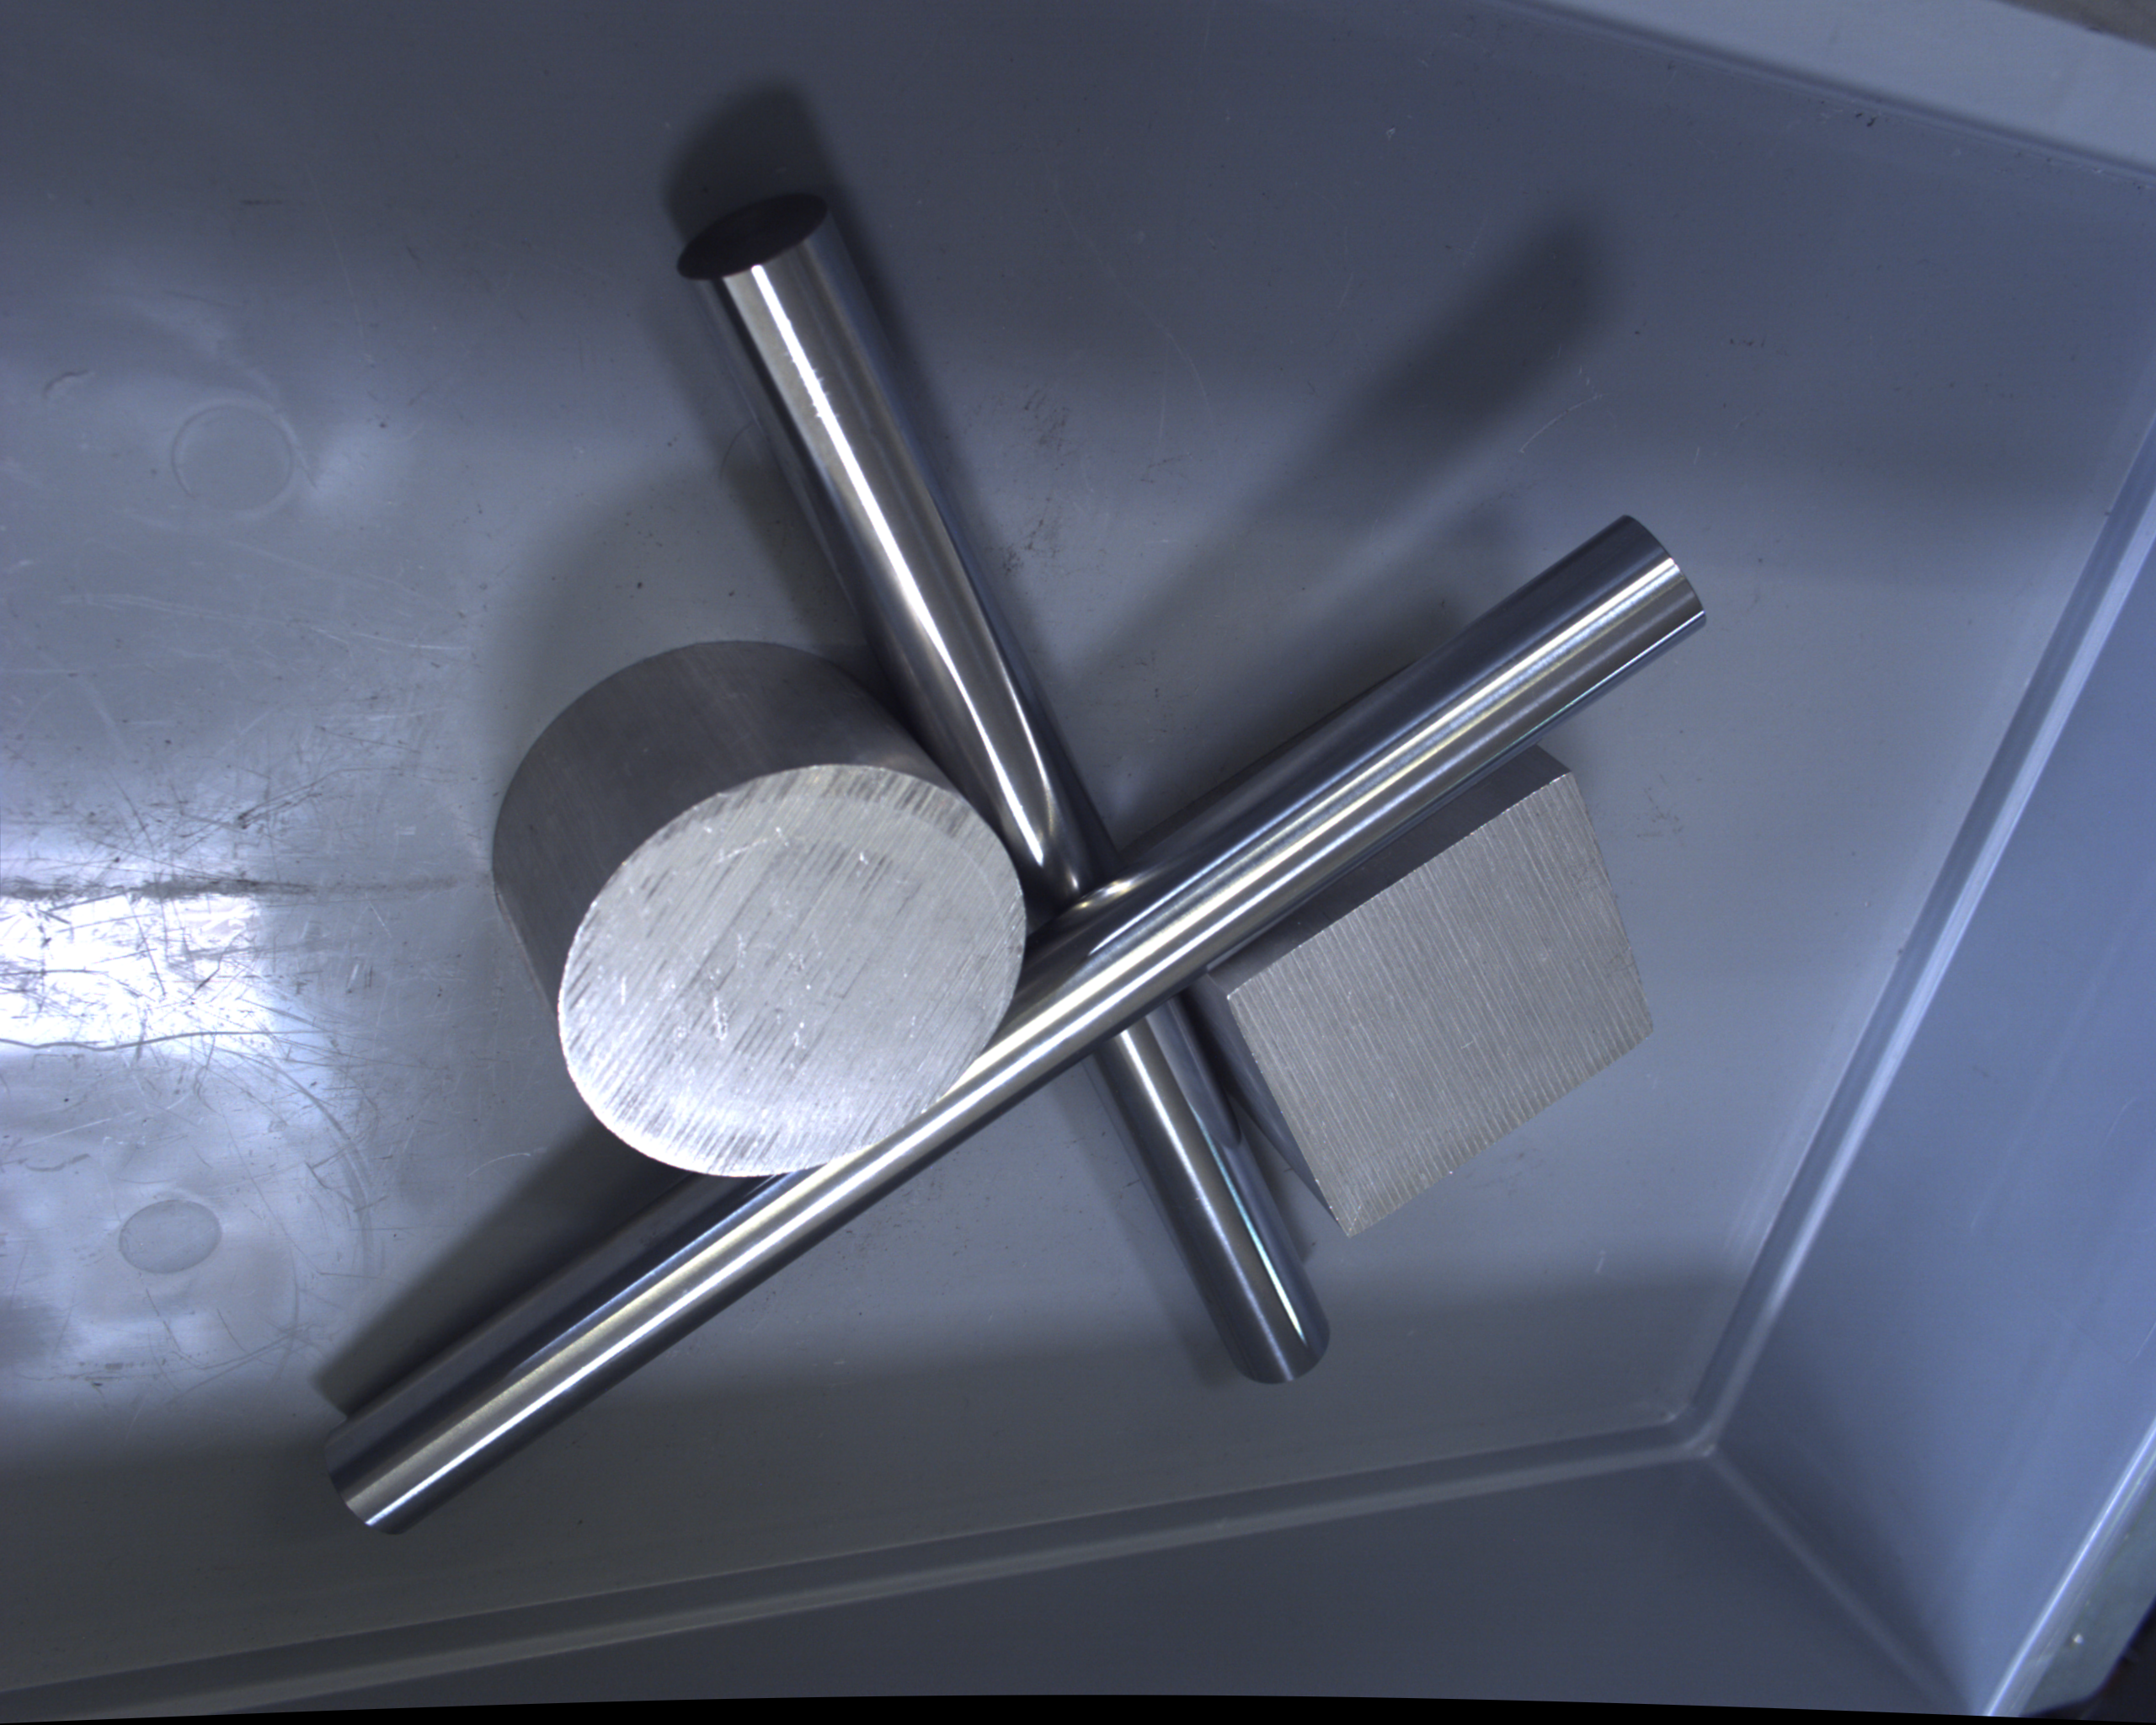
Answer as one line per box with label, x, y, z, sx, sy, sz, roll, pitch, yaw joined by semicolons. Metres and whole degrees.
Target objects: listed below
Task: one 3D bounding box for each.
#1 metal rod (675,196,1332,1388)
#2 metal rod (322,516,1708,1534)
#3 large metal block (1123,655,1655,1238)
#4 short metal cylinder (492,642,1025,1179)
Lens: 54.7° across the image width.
metal rod;0.000;0.010;0.412;0.025;0.025;0.299;-32;129;-8
metal rod;-0.016;0.034;0.391;0.300;0.025;0.025;-35;130;6
large metal block;0.065;0.018;0.435;0.080;0.050;0.080;-33;129;-7
short metal cylinder;-0.056;0.008;0.365;0.081;0.050;0.079;-14;124;-21
